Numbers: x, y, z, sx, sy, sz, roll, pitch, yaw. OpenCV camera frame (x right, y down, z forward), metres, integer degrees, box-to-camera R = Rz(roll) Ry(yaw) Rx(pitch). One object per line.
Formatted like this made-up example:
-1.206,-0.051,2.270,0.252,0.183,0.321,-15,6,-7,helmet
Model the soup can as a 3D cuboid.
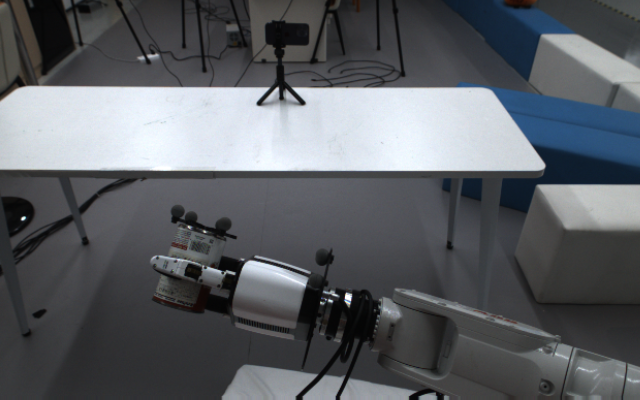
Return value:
-0.167,0.091,0.628,0.067,0.067,0.101,13,78,15,soup can
